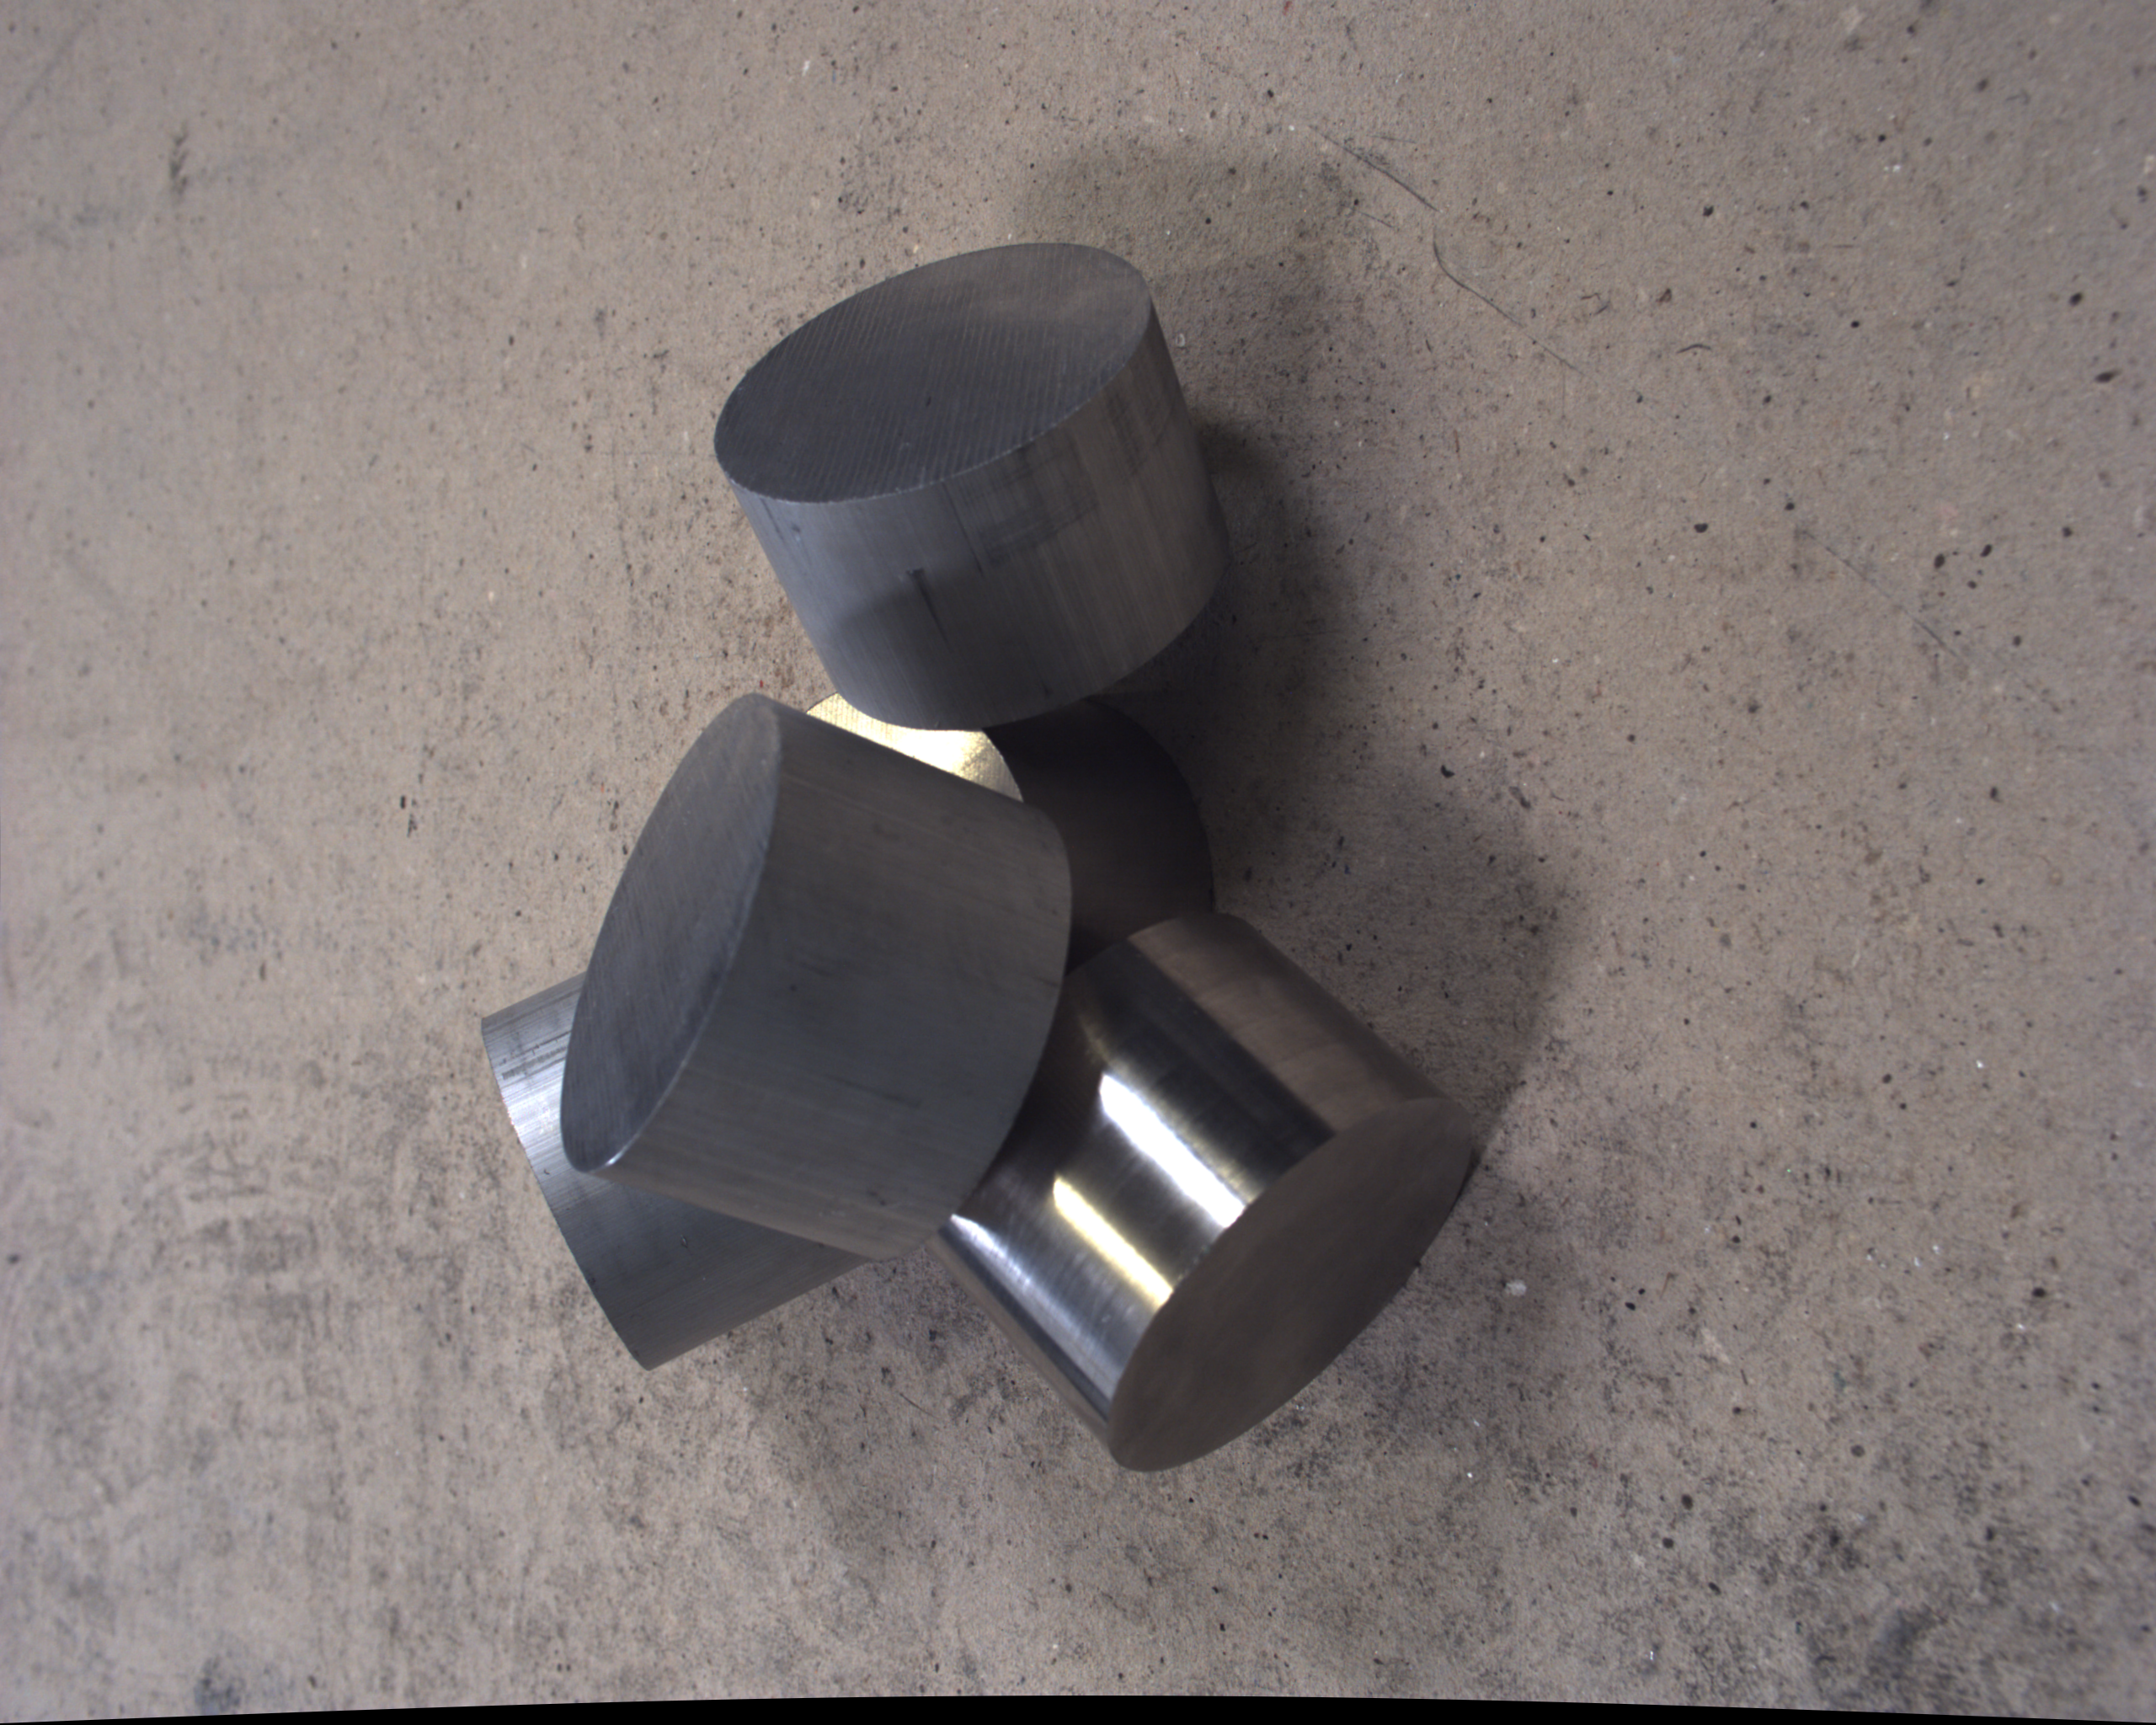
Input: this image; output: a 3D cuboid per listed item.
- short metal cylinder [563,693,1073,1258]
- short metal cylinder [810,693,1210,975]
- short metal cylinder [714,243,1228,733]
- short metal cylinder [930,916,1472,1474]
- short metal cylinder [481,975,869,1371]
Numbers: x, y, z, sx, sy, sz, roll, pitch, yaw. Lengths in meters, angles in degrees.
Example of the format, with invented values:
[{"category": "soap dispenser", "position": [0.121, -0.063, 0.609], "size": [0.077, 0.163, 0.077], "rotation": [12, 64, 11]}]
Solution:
[{"category": "short metal cylinder", "position": [-0.044, 0.019, 0.339], "size": [0.080, 0.050, 0.080], "rotation": [-45, 33, 41]}, {"category": "short metal cylinder", "position": [-0.022, 0.006, 0.408], "size": [0.080, 0.050, 0.080], "rotation": [0, 89, 39]}, {"category": "short metal cylinder", "position": [-0.018, -0.069, 0.378], "size": [0.080, 0.080, 0.050], "rotation": [18, 145, 38]}, {"category": "short metal cylinder", "position": [0.020, 0.056, 0.354], "size": [0.050, 0.081, 0.080], "rotation": [42, 115, 32]}, {"category": "short metal cylinder", "position": [-0.082, 0.058, 0.431], "size": [0.080, 0.050, 0.080], "rotation": [61, 169, 22]}]
